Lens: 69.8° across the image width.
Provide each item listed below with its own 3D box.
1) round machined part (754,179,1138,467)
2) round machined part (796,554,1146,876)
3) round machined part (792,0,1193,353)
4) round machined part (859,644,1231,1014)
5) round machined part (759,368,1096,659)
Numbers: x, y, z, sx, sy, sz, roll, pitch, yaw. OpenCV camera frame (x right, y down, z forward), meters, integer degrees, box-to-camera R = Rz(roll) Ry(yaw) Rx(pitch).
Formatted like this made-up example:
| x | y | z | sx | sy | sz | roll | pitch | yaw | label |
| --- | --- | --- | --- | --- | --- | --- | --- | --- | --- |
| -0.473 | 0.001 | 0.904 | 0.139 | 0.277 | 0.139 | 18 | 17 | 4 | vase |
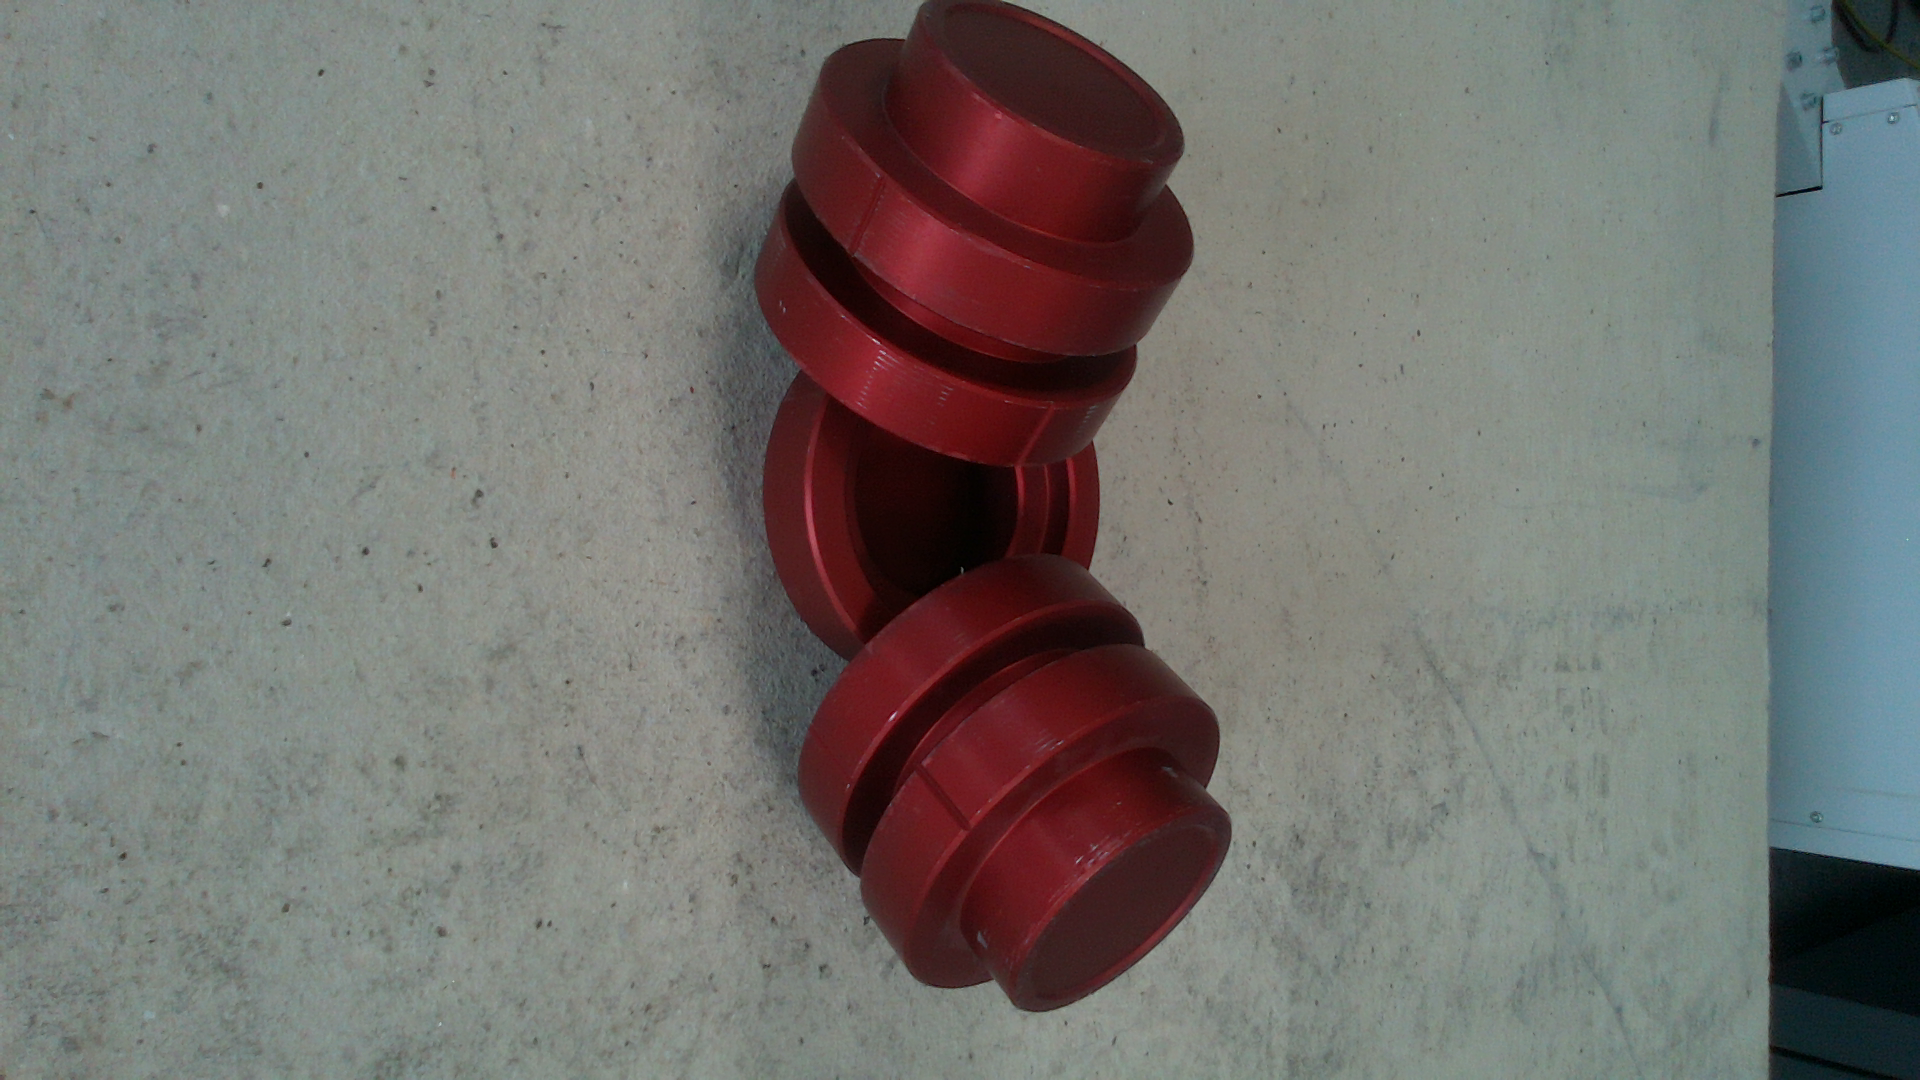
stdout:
| x | y | z | sx | sy | sz | roll | pitch | yaw | label |
| --- | --- | --- | --- | --- | --- | --- | --- | --- | --- |
| 0.002 | -0.067 | 0.344 | 0.098 | 0.042 | 0.098 | 19 | 39 | -16 | round machined part |
| 0.011 | 0.055 | 0.355 | 0.098 | 0.042 | 0.098 | -26 | 141 | -23 | round machined part |
| 0.013 | -0.092 | 0.326 | 0.098 | 0.042 | 0.098 | 19 | 39 | -16 | round machined part |
| 0.028 | 0.077 | 0.338 | 0.098 | 0.042 | 0.098 | -27 | 141 | -24 | round machined part |
| -0.012 | -0.012 | 0.369 | 0.098 | 0.042 | 0.098 | 0 | 90 | -40 | round machined part |
